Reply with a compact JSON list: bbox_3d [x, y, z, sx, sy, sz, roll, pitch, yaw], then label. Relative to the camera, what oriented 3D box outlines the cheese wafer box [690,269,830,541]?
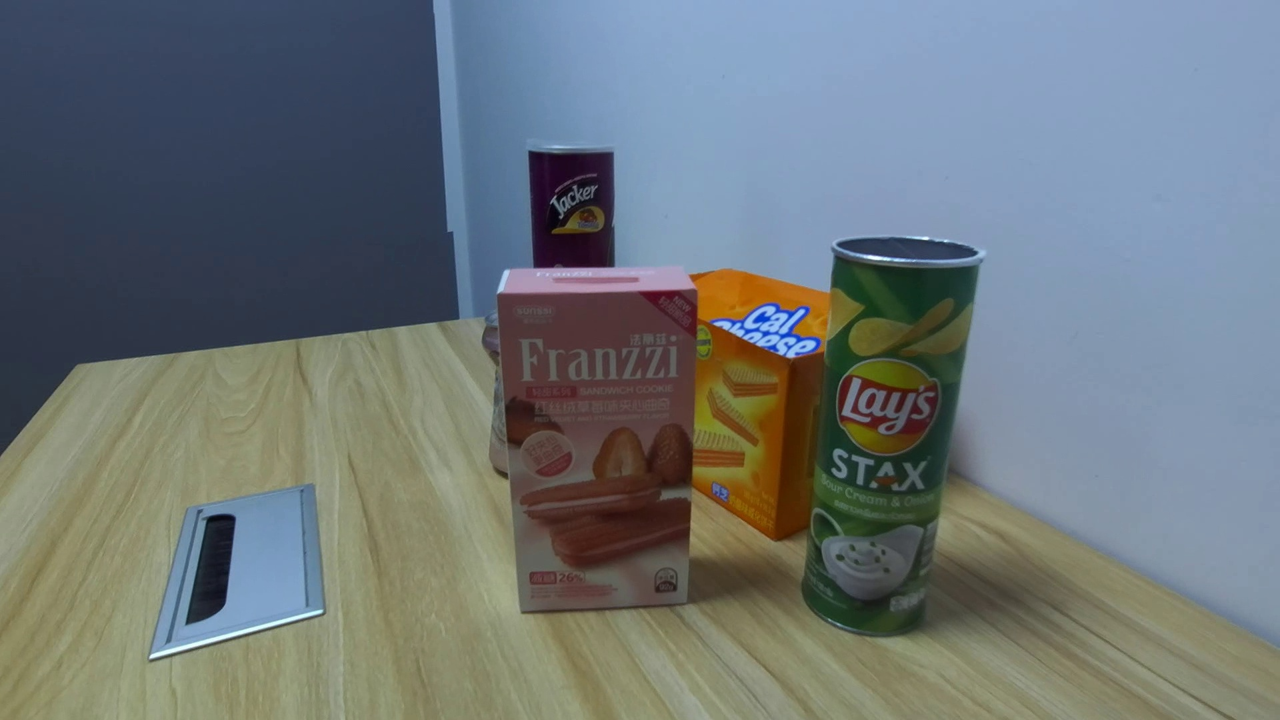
[{"bbox_3d":[0.087,0.017,0.548,0.153,0.132,0.229,-11,21,-30],"label":"cheese wafer box"}]

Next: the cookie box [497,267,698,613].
[{"bbox_3d":[-0.021,0.046,0.383,0.096,0.184,0.048,-2,21,-5],"label":"cookie box"}]

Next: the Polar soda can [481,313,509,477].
[{"bbox_3d":[-0.094,0.030,0.569,0.067,0.122,0.074,0,11,9],"label":"Polar soda can"}]

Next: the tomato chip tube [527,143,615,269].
[{"bbox_3d":[-0.060,-0.078,0.659,0.078,0.234,0.078,0,18,0],"label":"tomato chip tube"}]

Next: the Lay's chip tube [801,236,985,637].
[{"bbox_3d":[0.126,0.038,0.370,0.071,0.202,0.071,0,21,0],"label":"Lay's chip tube"}]
